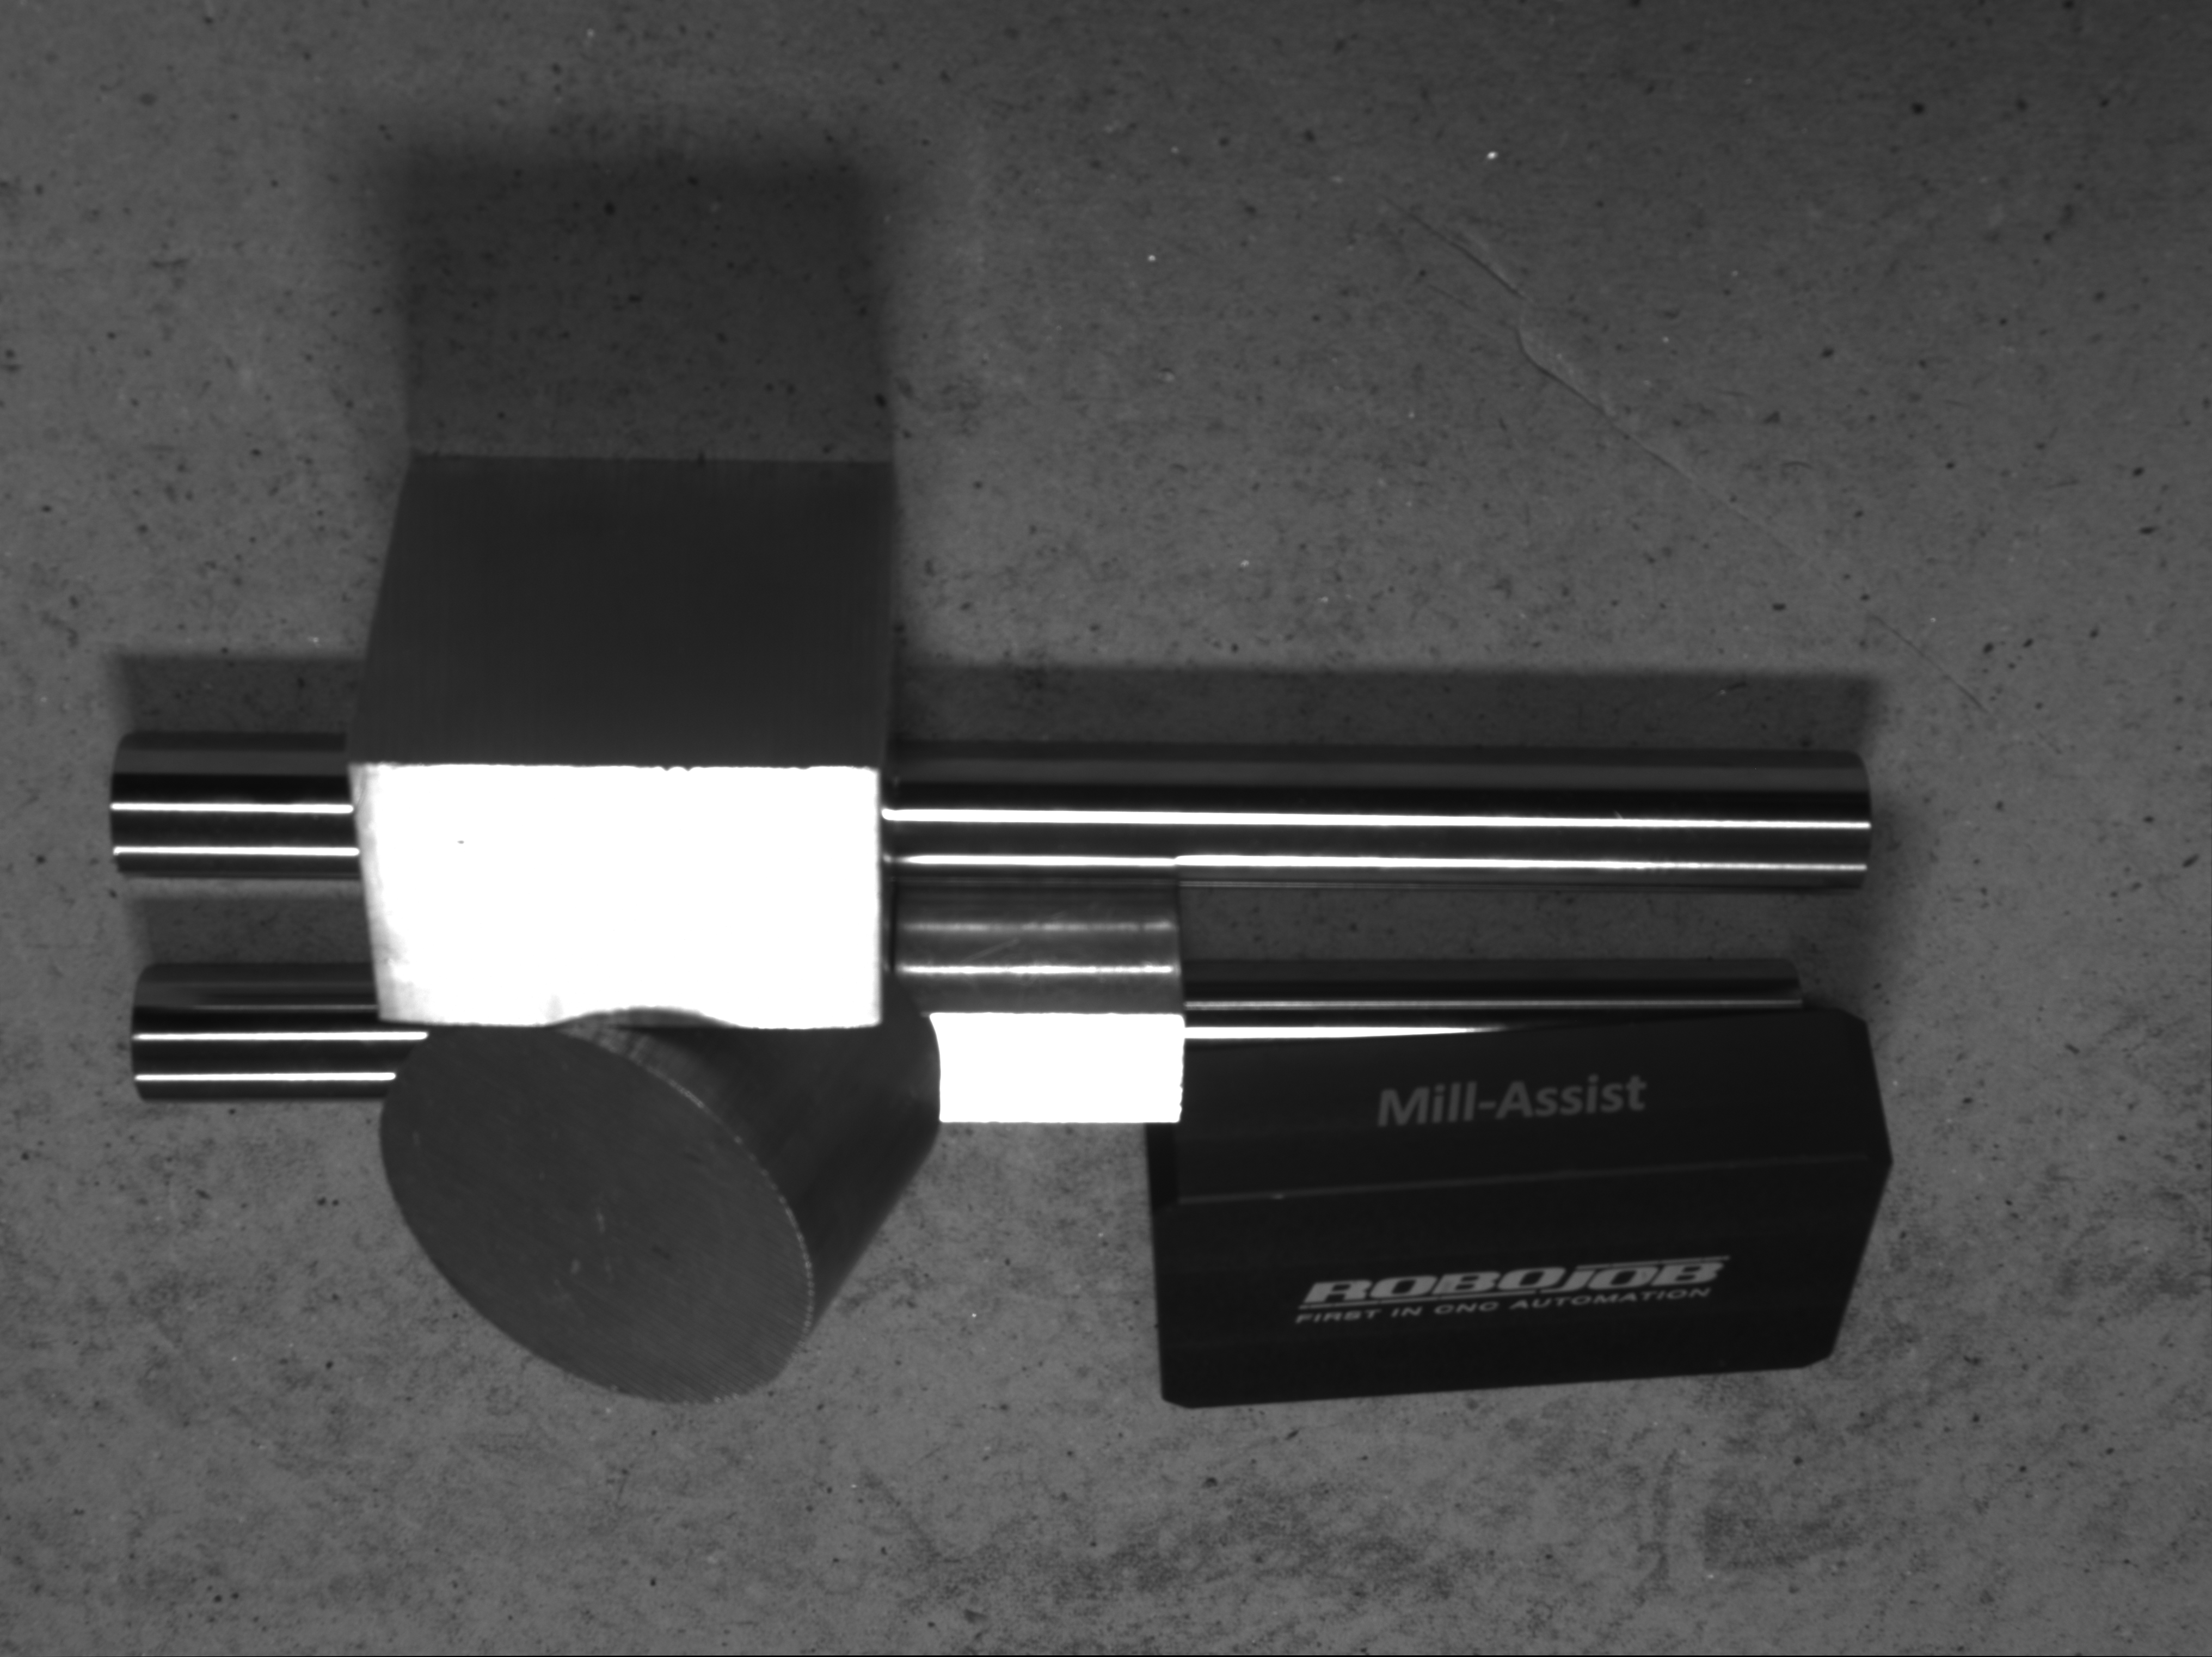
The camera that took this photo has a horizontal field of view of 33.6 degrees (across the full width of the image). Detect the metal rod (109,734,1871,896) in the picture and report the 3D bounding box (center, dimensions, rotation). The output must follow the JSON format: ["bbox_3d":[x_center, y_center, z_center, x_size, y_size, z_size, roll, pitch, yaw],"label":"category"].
[{"bbox_3d":[-0.019,-0.002,0.636,0.300,0.025,0.025,1,130,-2],"label":"metal rod"}]

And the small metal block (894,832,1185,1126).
[{"bbox_3d":[-0.013,0.025,0.643,0.050,0.050,0.025,1,130,-2],"label":"small metal block"}]

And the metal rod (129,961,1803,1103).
[{"bbox_3d":[-0.024,0.037,0.669,0.300,0.025,0.025,0,130,-2],"label":"metal rod"}]

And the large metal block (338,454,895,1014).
[{"bbox_3d":[-0.075,-0.016,0.587,0.080,0.080,0.050,1,130,-2],"label":"large metal block"}]

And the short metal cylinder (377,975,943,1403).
[{"bbox_3d":[-0.074,0.050,0.615,0.080,0.050,0.080,14,130,18],"label":"short metal cylinder"}]

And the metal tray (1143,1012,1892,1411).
[{"bbox_3d":[0.073,0.073,0.680,0.130,0.030,0.090,-4,148,0],"label":"metal tray"}]
